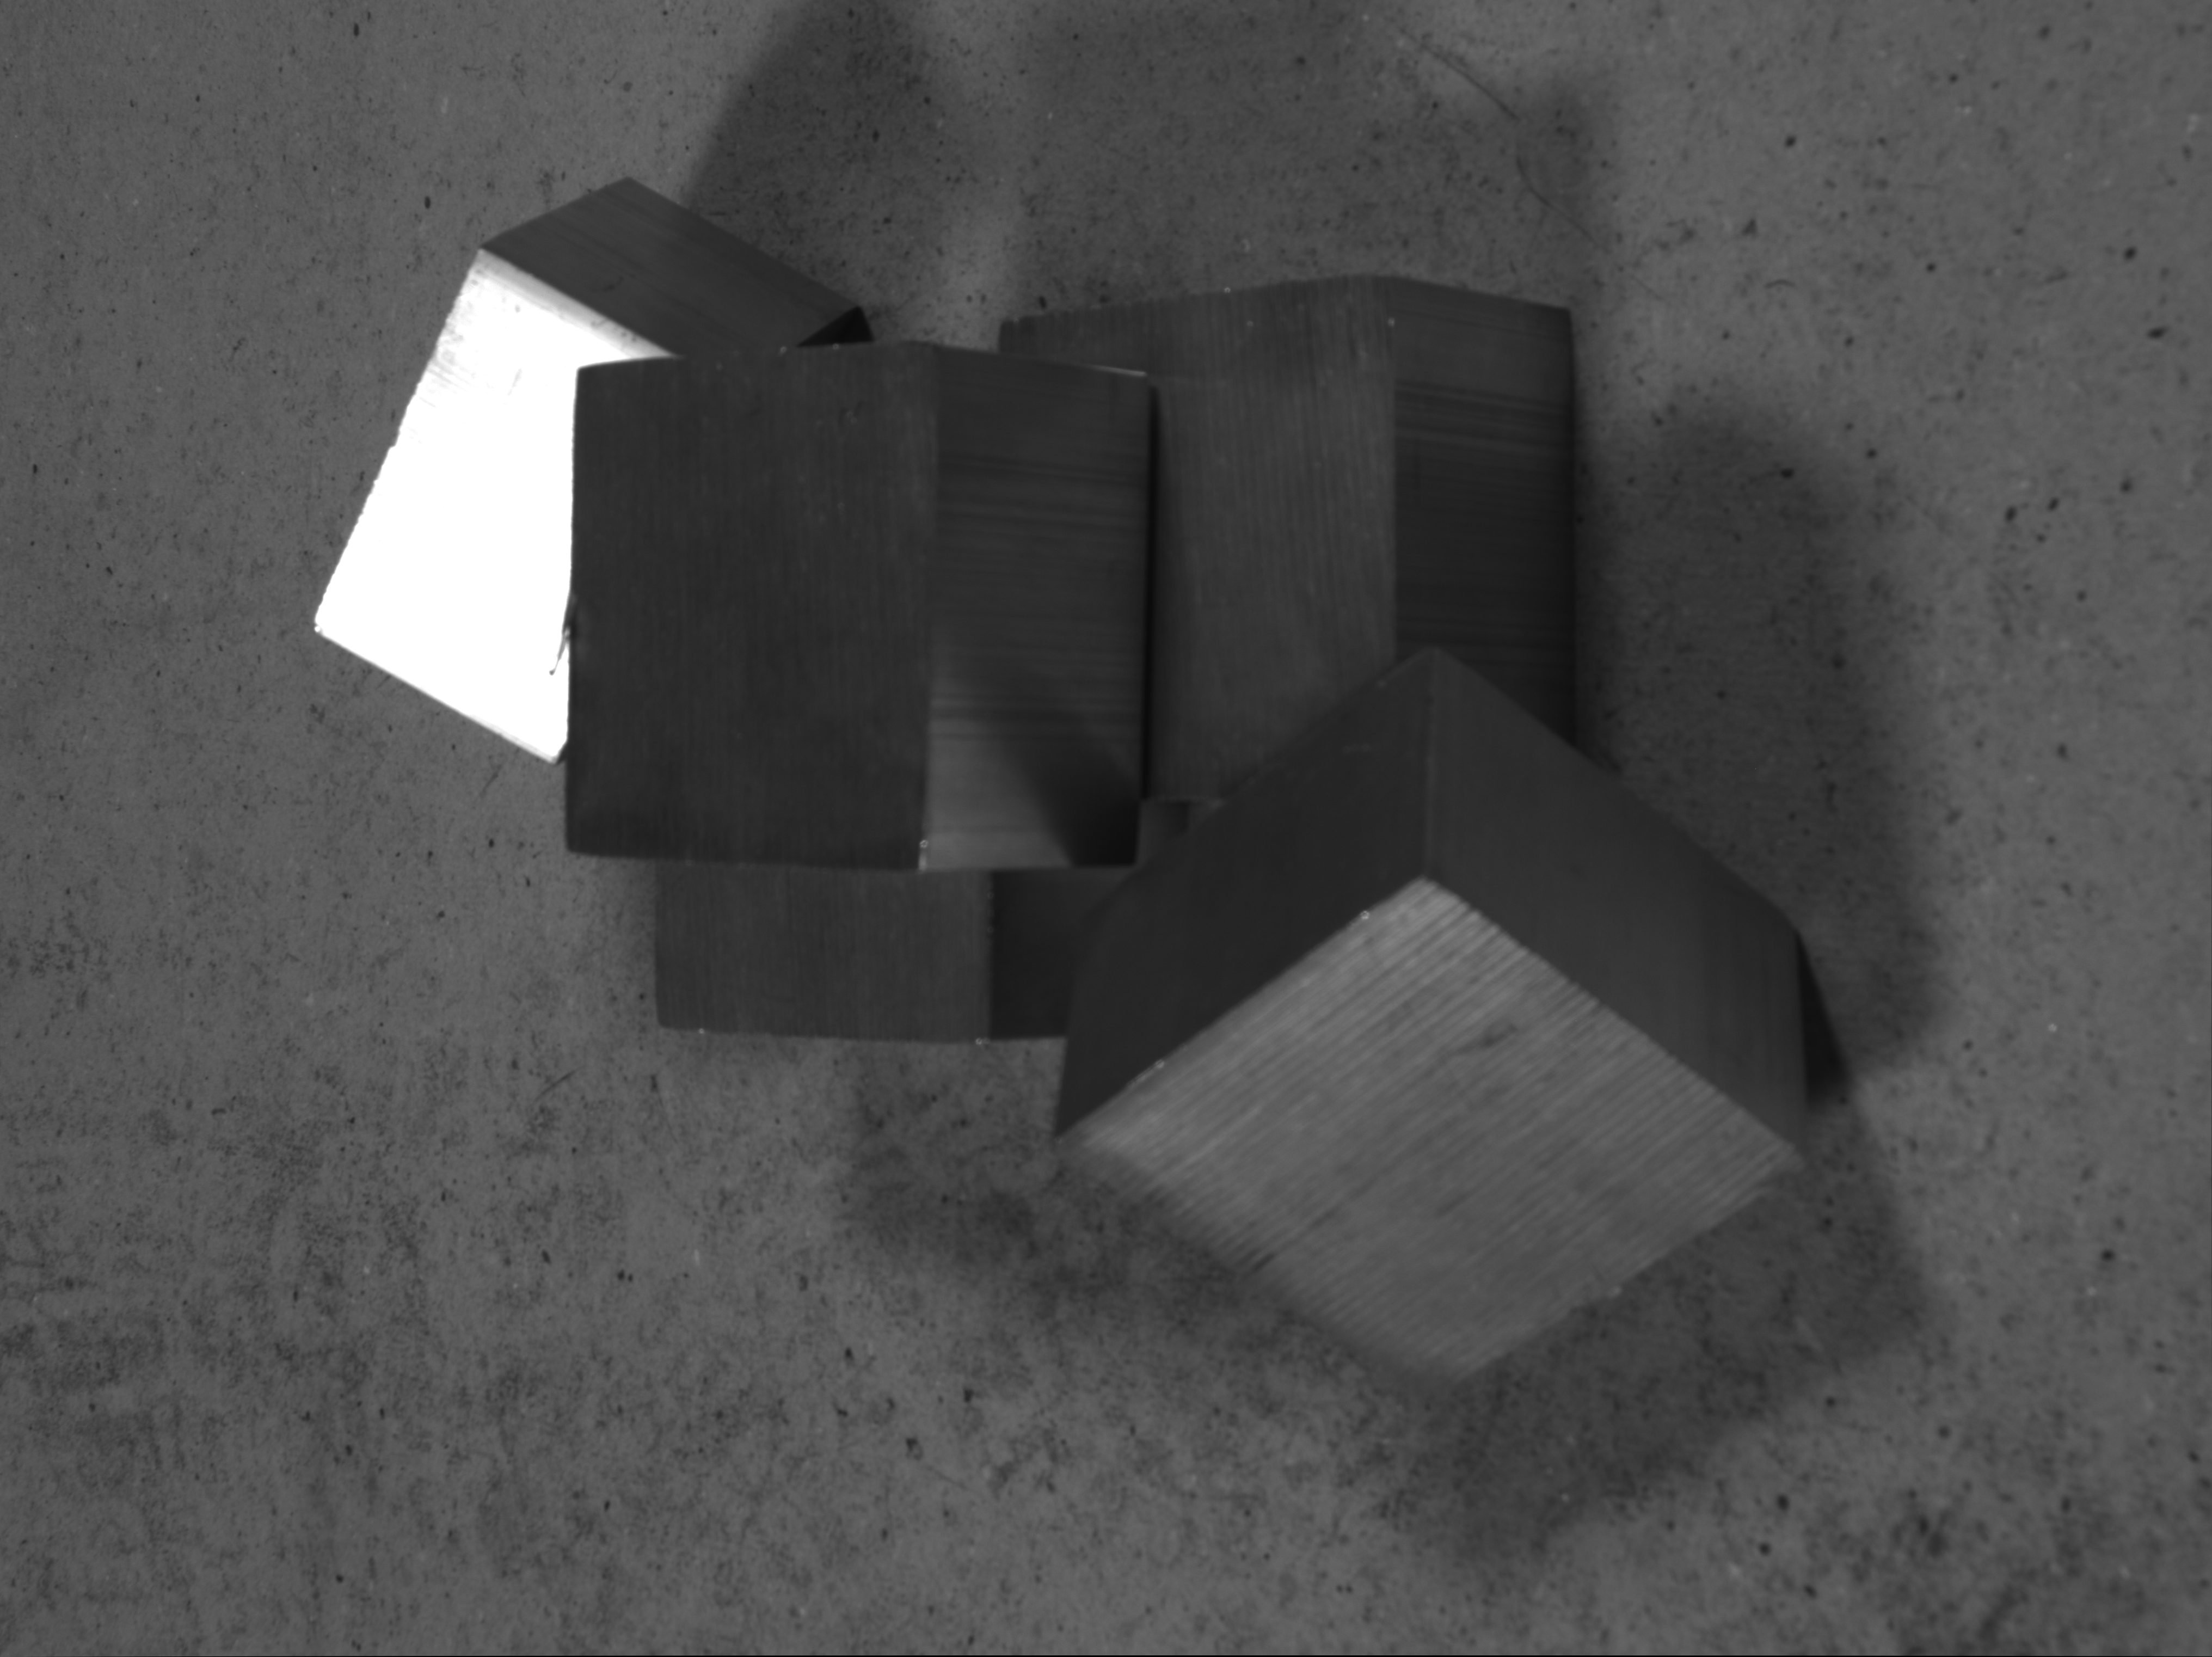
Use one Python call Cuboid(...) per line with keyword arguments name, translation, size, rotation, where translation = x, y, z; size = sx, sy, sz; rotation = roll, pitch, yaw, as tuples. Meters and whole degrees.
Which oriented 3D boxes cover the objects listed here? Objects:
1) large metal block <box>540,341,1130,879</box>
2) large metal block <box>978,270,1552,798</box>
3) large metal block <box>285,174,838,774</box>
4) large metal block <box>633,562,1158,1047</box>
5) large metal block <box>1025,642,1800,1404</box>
Cuboid(name="large metal block", translation=(-0.044, -0.034, 0.589), size=(0.080, 0.050, 0.080), rotation=(3, 91, 39))
Cuboid(name="large metal block", translation=(0.025, -0.045, 0.600), size=(0.080, 0.050, 0.080), rotation=(0, 90, 39))
Cuboid(name="large metal block", translation=(-0.098, -0.067, 0.673), size=(0.050, 0.080, 0.080), rotation=(29, 112, 1))
Cuboid(name="large metal block", translation=(-0.038, -0.004, 0.649), size=(0.080, 0.050, 0.080), rotation=(0, 90, 39))
Cuboid(name="large metal block", translation=(0.046, 0.031, 0.554), size=(0.080, 0.080, 0.050), rotation=(-38, 29, 33))
